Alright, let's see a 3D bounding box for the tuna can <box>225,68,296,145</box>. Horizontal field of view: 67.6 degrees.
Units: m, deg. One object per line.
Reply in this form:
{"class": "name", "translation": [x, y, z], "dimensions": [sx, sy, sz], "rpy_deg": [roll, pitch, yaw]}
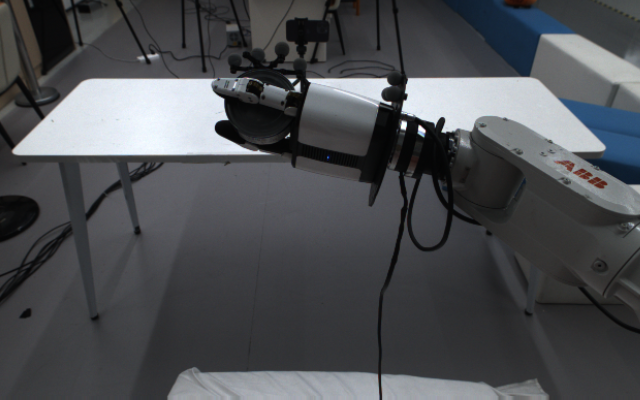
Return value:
{"class": "tuna can", "translation": [-0.068, -0.112, 0.578], "dimensions": [0.085, 0.034, 0.085], "rpy_deg": [0, 75, 0]}
